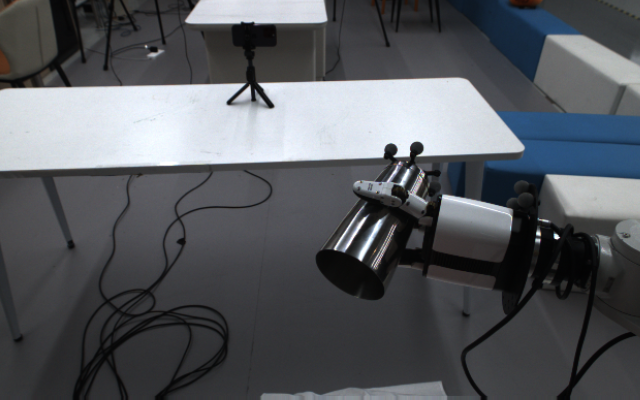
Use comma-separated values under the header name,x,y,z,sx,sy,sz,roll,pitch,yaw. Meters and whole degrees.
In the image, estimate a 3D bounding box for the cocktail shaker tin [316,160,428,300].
name,x,y,z,sx,sy,sz,roll,pitch,yaw
cocktail shaker tin,0.079,0.025,0.606,0.093,0.093,0.170,19,55,22
